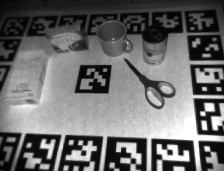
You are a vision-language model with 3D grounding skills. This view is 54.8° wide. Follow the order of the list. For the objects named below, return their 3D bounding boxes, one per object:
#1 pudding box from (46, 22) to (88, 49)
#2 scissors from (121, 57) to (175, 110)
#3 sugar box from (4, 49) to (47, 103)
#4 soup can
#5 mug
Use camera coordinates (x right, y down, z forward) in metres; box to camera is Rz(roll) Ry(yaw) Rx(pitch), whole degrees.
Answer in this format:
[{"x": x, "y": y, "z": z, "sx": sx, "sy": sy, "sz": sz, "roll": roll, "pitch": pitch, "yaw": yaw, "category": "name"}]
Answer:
[{"x": -0.141, "y": -0.162, "z": 0.689, "sx": 0.113, "sy": 0.090, "sz": 0.038, "roll": -8, "pitch": 69, "yaw": 4, "category": "pudding box"}, {"x": 0.092, "y": -0.023, "z": 0.632, "sx": 0.088, "sy": 0.016, "sz": 0.201, "roll": -41, "pitch": 66, "yaw": -2, "category": "scissors"}, {"x": -0.266, "y": -0.036, "z": 0.675, "sx": 0.092, "sy": 0.045, "sz": 0.176, "roll": -3, "pitch": 65, "yaw": 9, "category": "sugar box"}, {"x": 0.118, "y": -0.124, "z": 0.640, "sx": 0.067, "sy": 0.103, "sz": 0.067, "roll": -4, "pitch": 62, "yaw": 8, "category": "soup can"}, {"x": 0.007, "y": -0.159, "z": 0.676, "sx": 0.093, "sy": 0.082, "sz": 0.116, "roll": -33, "pitch": 62, "yaw": -6, "category": "mug"}]
